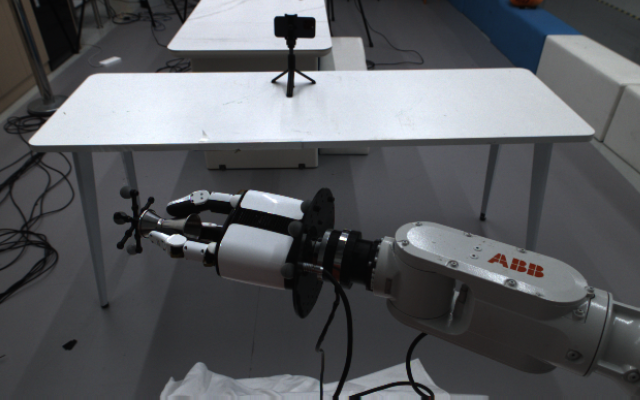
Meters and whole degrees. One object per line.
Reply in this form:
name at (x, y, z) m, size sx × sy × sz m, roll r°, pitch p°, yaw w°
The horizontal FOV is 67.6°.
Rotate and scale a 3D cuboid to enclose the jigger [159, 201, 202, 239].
jigger at (-0.189, 0.033, 0.633) m, size 0.071 × 0.043 × 0.043 m, roll 7°, pitch 35°, yaw 15°
